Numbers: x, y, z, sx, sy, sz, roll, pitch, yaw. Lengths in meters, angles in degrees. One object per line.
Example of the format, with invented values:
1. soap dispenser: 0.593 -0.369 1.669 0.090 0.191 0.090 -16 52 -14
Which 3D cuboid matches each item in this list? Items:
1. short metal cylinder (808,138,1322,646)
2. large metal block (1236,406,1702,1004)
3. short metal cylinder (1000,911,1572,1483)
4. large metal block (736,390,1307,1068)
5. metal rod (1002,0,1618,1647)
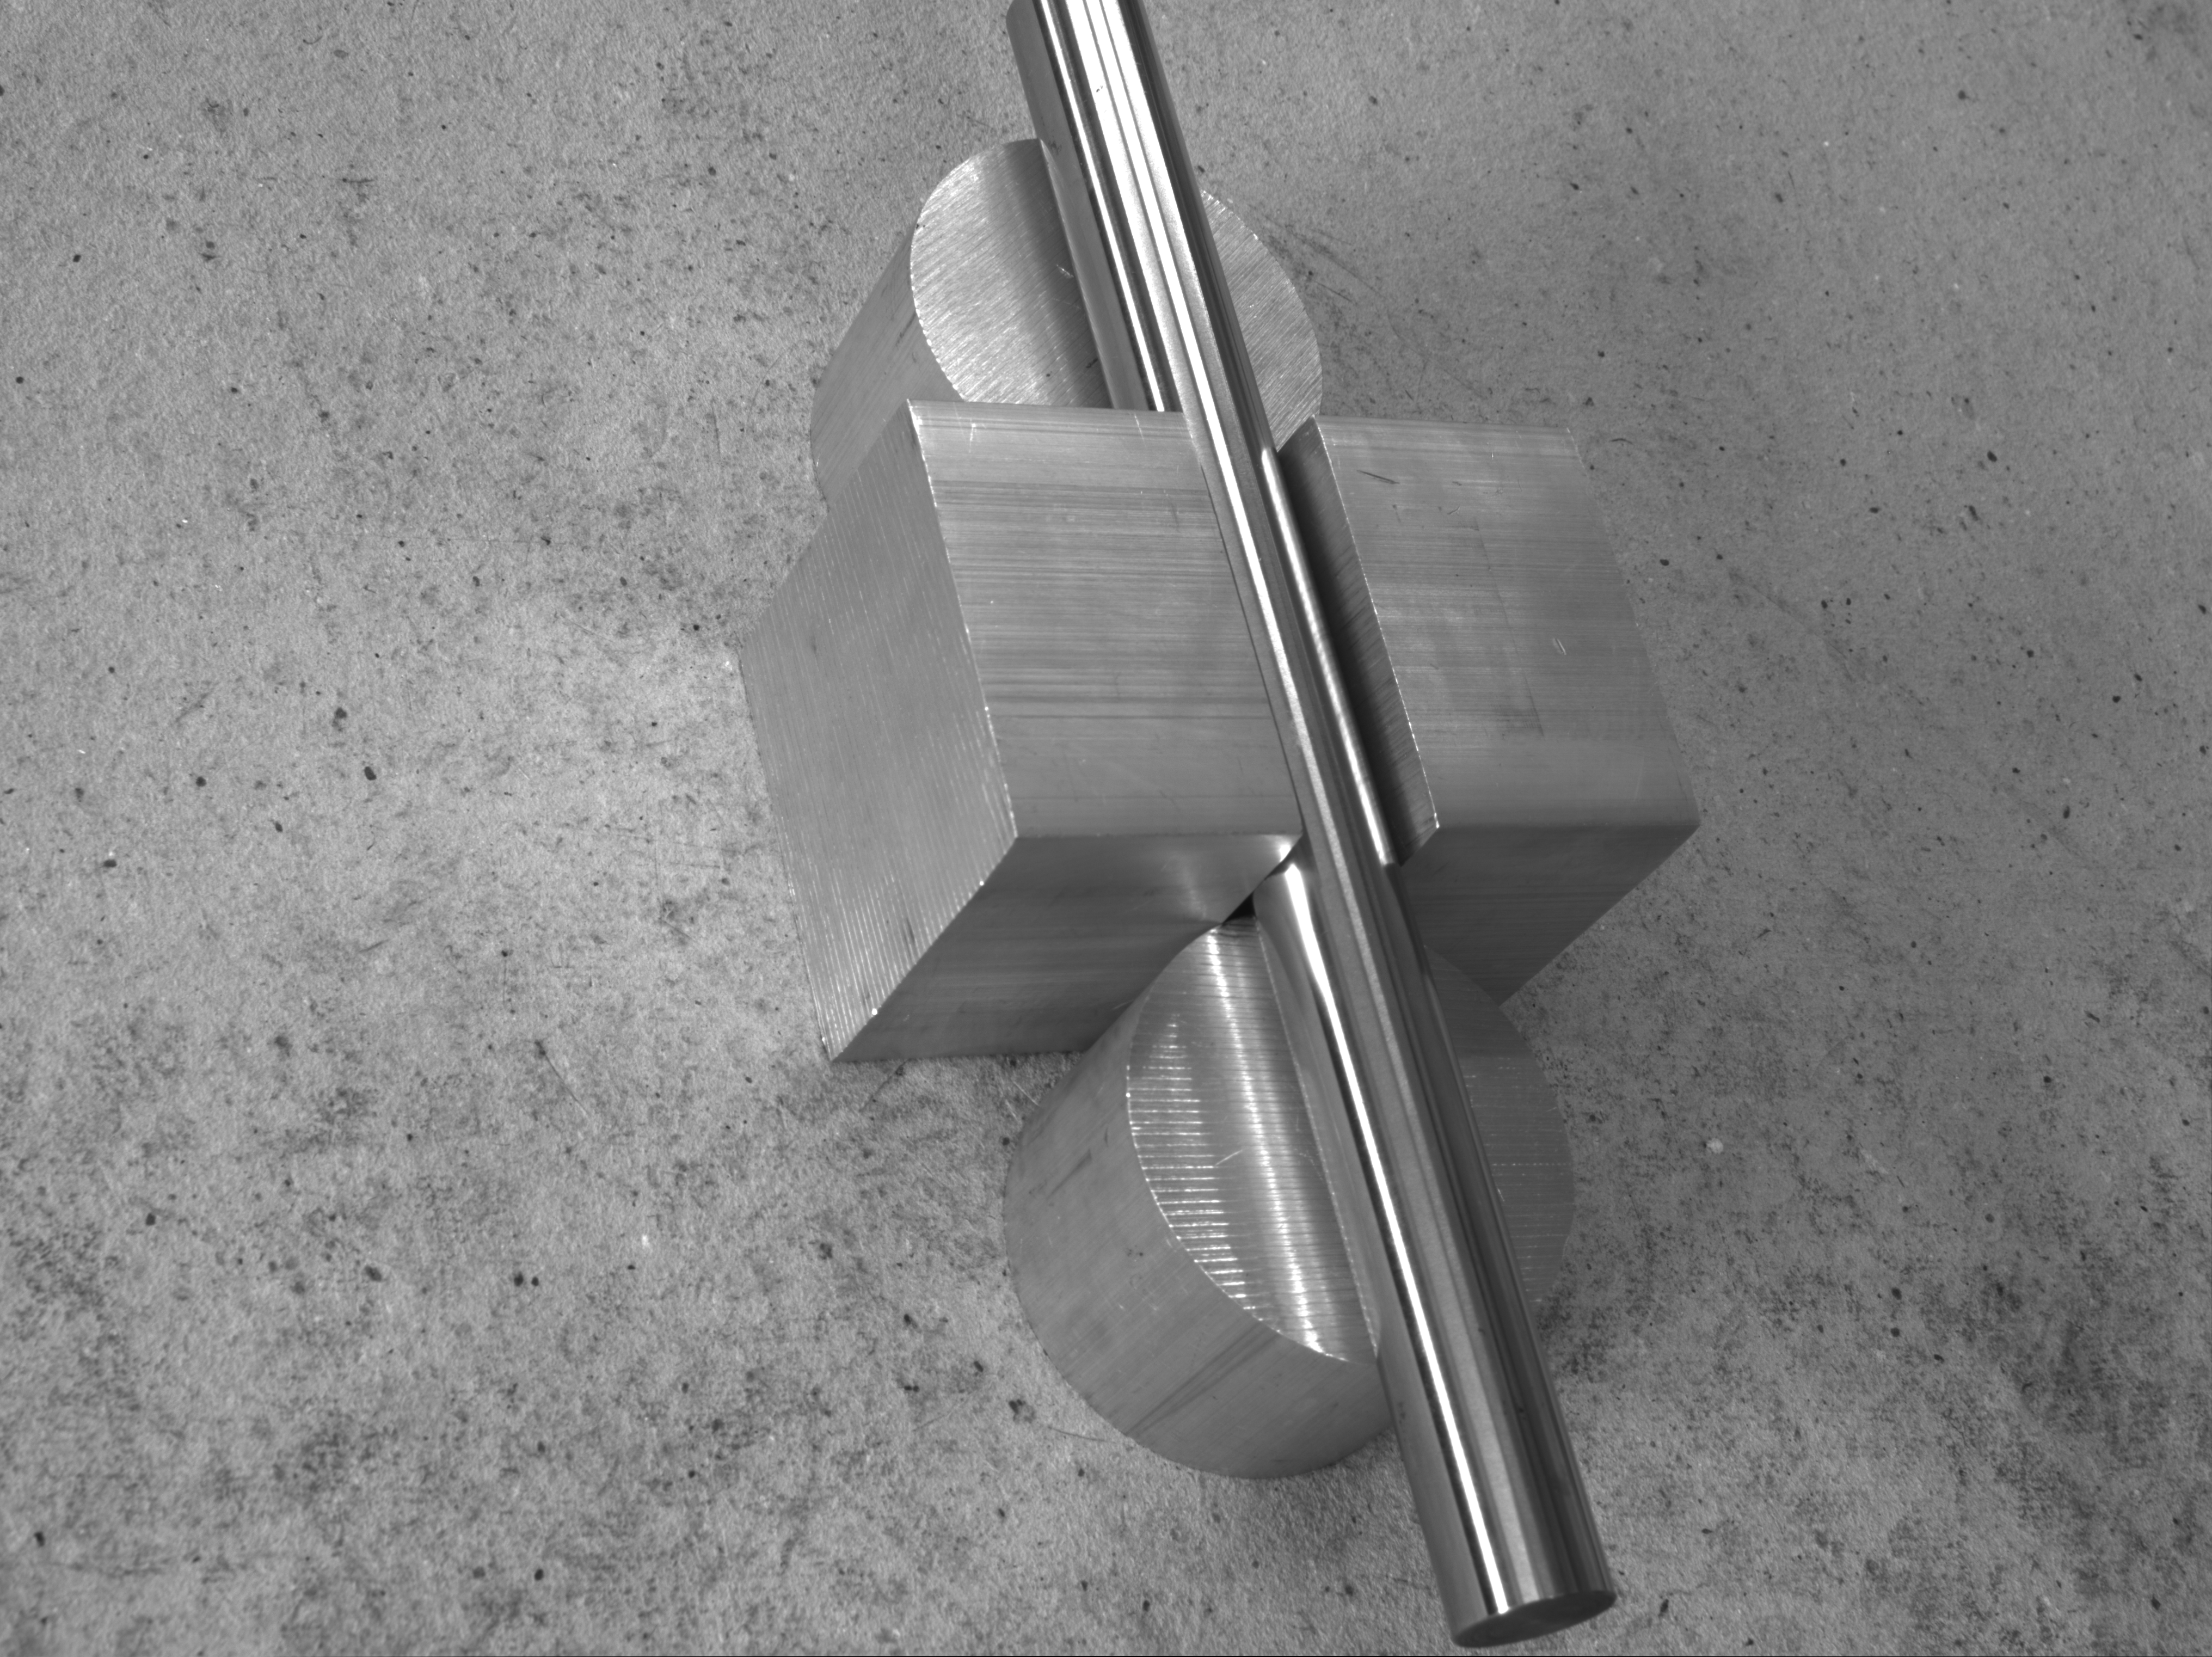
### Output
1. short metal cylinder: -0.008 -0.078 0.667 0.080 0.050 0.080 14 55 -20
2. large metal block: 0.051 -0.017 0.641 0.050 0.080 0.080 -1 62 -28
3. short metal cylinder: 0.029 0.061 0.603 0.080 0.050 0.080 14 55 -20
4. large metal block: -0.017 -0.015 0.604 0.050 0.080 0.080 -1 62 -28
5. metal rod: 0.028 -0.016 0.600 0.025 0.025 0.300 -1 62 -28
